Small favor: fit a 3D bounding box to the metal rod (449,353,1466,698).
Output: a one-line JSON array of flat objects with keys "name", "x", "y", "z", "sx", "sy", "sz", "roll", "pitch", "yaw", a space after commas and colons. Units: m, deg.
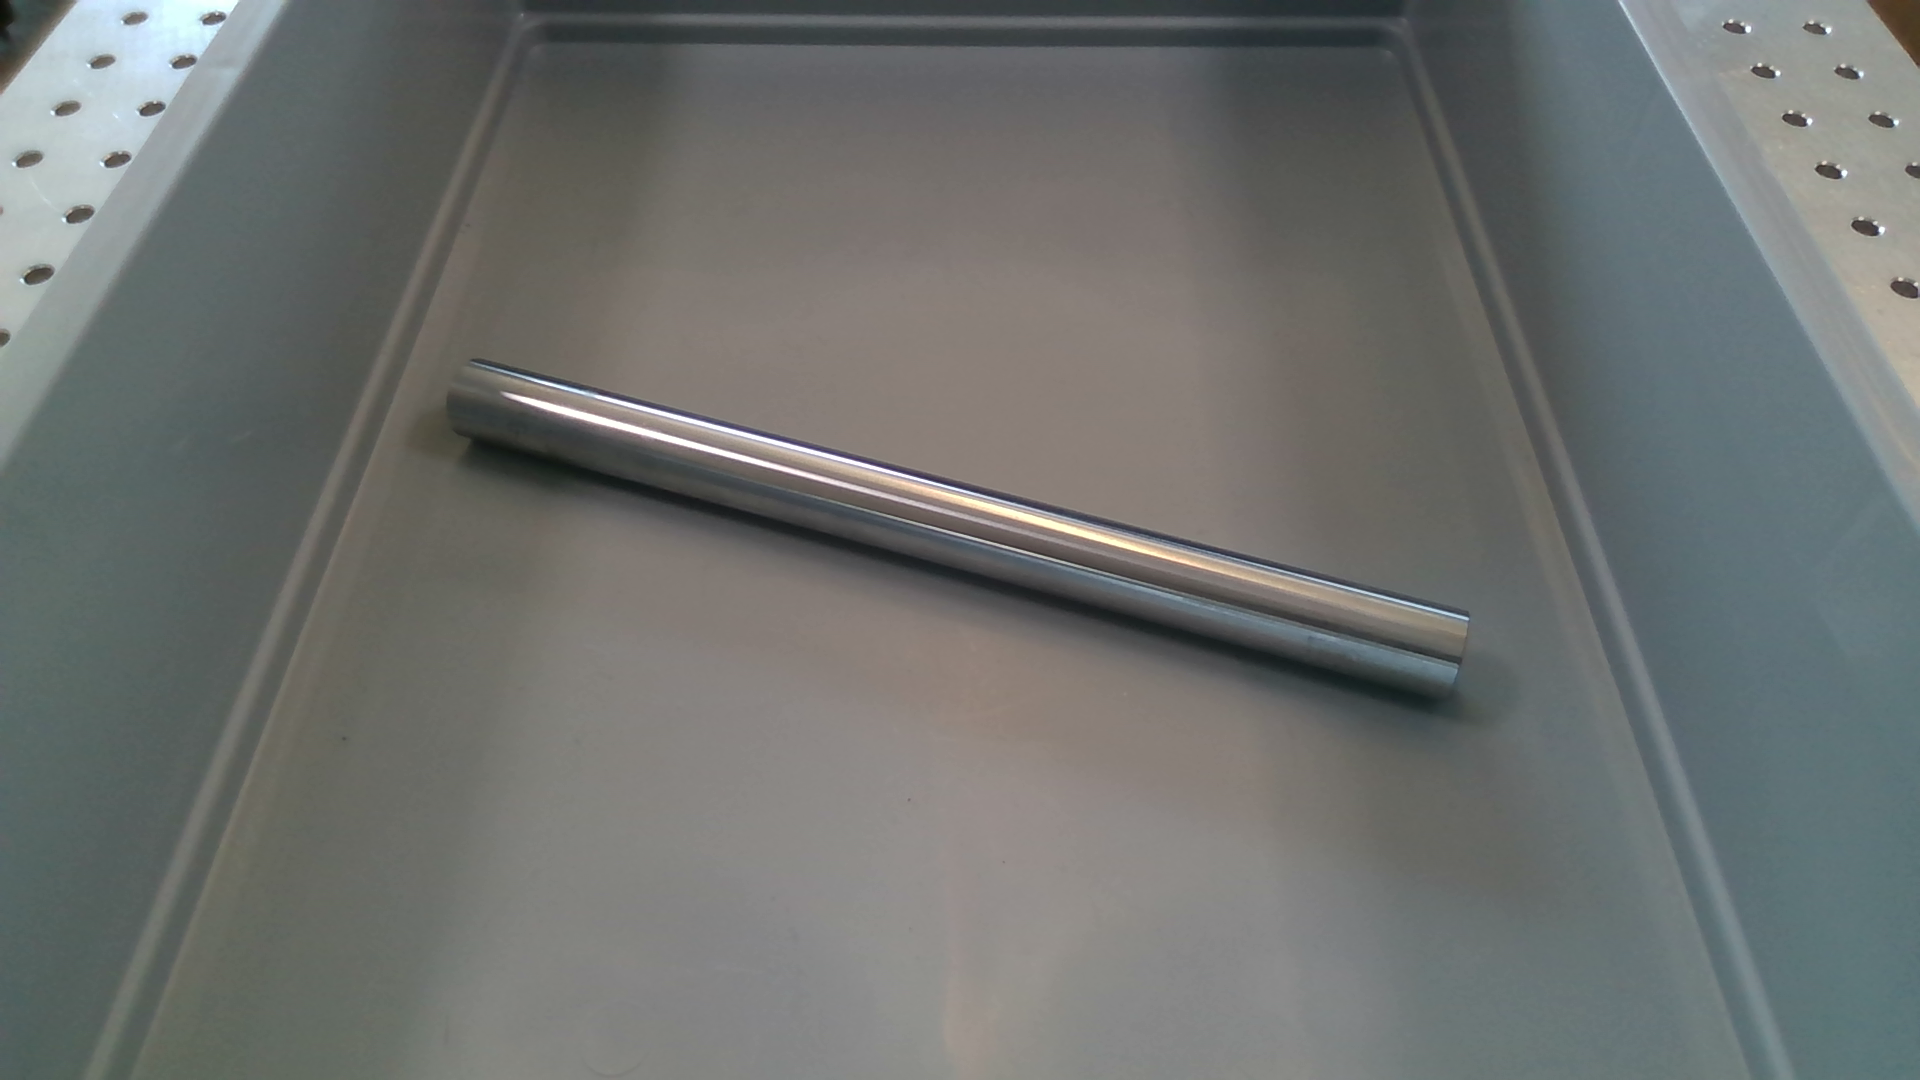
[{"name": "metal rod", "x": -0.011, "y": -0.008, "z": 0.398, "sx": 0.300, "sy": 0.025, "sz": 0.025, "roll": 15, "pitch": 52, "yaw": 12}]
